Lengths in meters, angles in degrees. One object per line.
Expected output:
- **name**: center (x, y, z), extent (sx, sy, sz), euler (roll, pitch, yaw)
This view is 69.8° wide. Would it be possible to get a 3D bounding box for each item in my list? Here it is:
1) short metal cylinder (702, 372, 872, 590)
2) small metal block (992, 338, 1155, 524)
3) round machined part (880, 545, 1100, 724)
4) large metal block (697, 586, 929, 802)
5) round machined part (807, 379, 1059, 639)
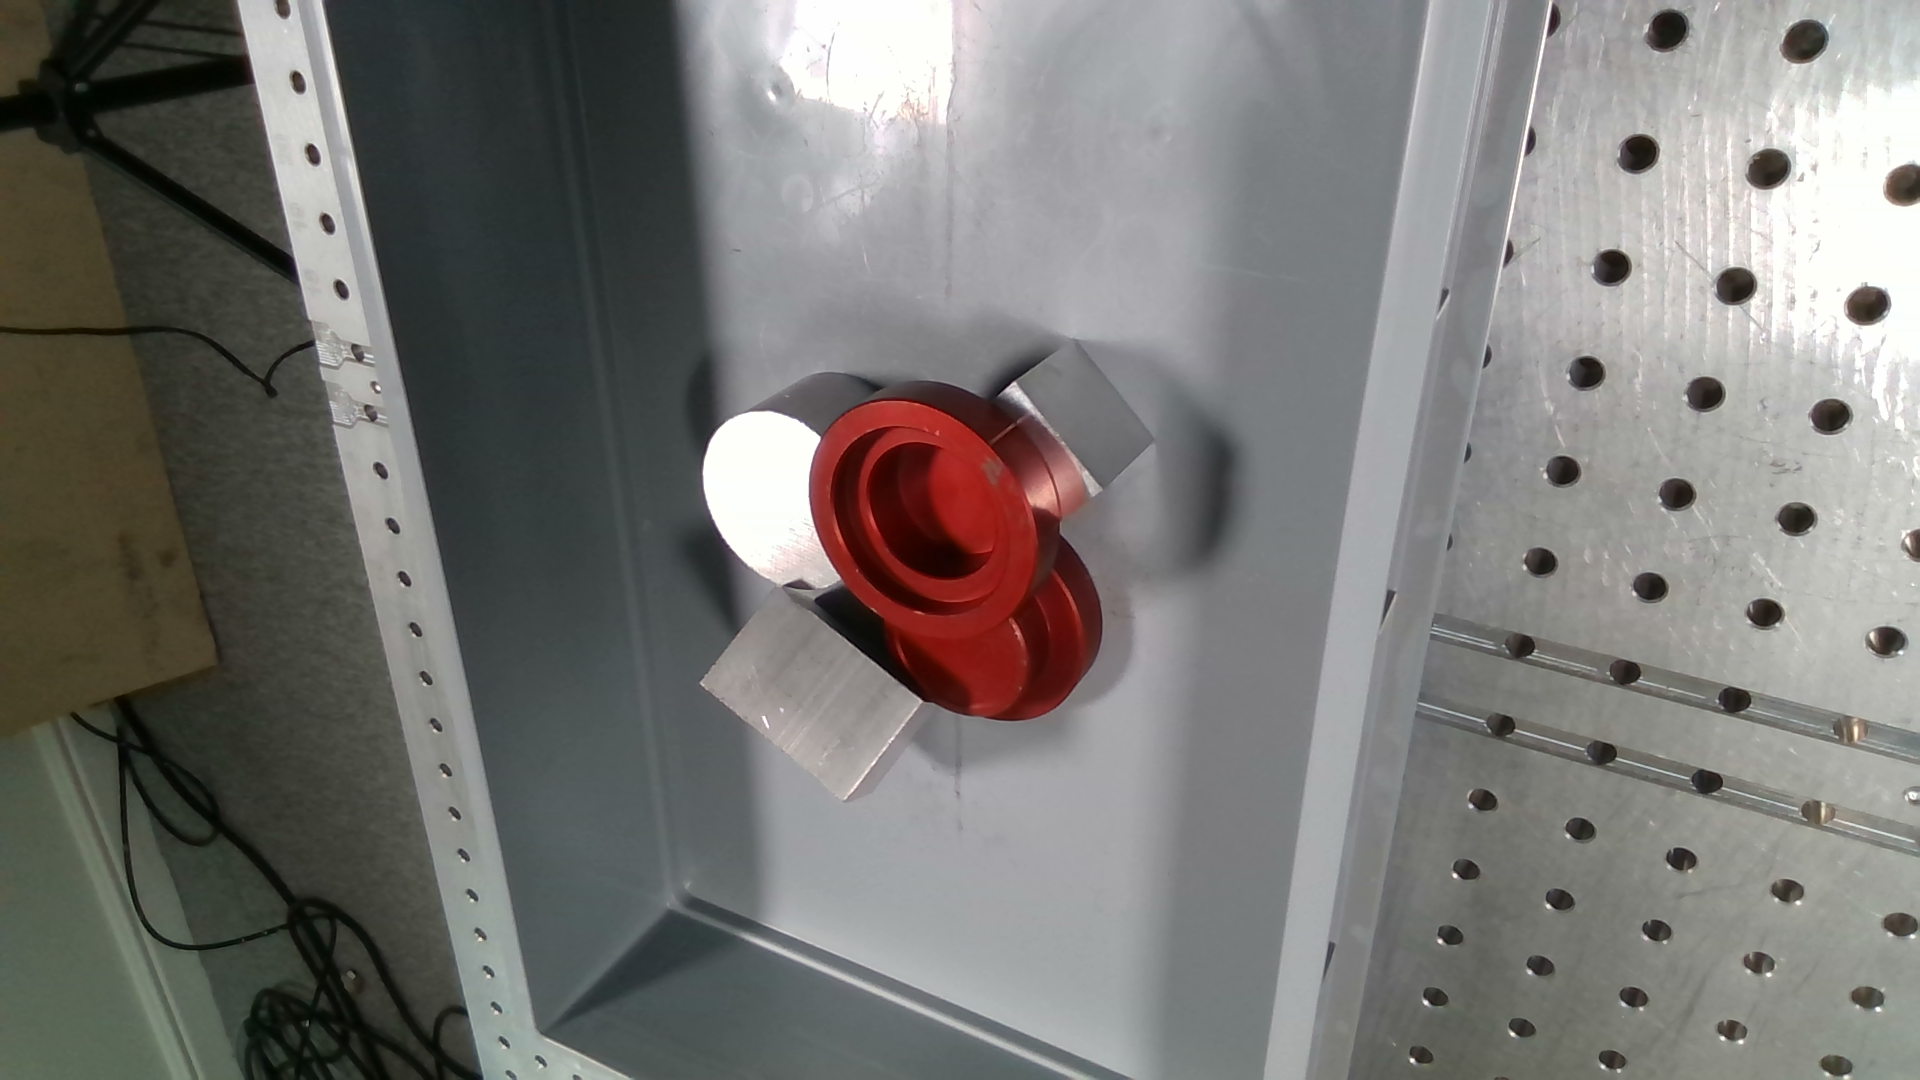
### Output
- **short metal cylinder**: center (-0.062, -0.026, 0.586), extent (0.080, 0.050, 0.080), euler (14, 122, 25)
- **small metal block**: center (0.039, -0.041, 0.515), extent (0.050, 0.050, 0.025), euler (51, 129, -1)
- **round machined part**: center (0.006, 0.036, 0.581), extent (0.098, 0.042, 0.098), euler (14, 122, 25)
- **large metal block**: center (-0.059, 0.068, 0.608), extent (0.080, 0.080, 0.050), euler (38, 88, 8)
- **round machined part**: center (-0.006, -0.015, 0.525), extent (0.098, 0.042, 0.098), euler (14, 122, 25)
